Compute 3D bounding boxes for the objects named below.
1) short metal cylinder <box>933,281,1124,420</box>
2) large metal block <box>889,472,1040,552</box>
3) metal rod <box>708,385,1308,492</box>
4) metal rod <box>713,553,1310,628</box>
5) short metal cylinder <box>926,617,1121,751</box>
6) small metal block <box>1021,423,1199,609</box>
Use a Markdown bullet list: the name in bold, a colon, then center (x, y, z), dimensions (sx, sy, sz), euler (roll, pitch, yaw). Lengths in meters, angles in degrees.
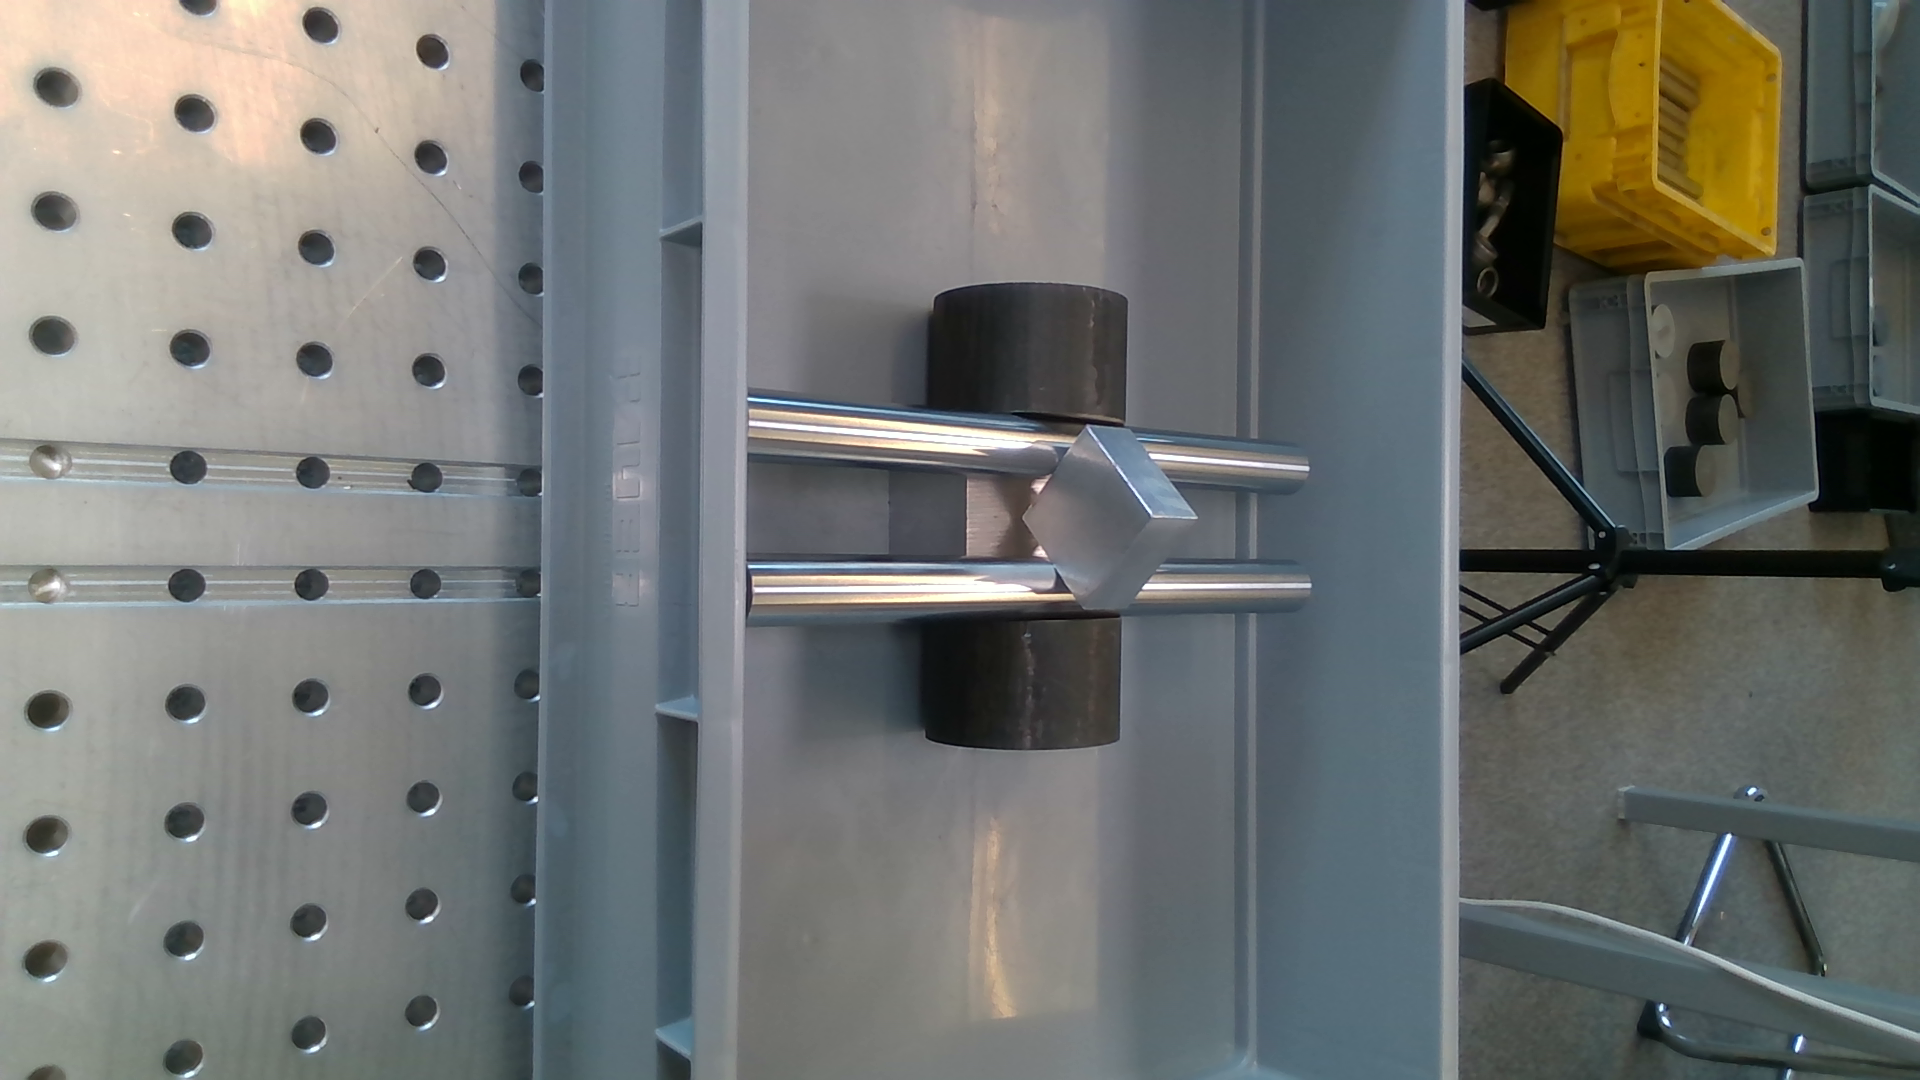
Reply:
- **short metal cylinder**: center (0.028, -0.074, 0.570), dimensions (0.080, 0.080, 0.050), euler (2, 89, -40)
- **large metal block**: center (0.017, -0.009, 0.580), dimensions (0.080, 0.050, 0.080), euler (1, 89, -40)
- **metal rod**: center (0.038, -0.036, 0.549), dimensions (0.300, 0.025, 0.025), euler (1, 89, -40)
- **metal rod**: center (0.040, 0.019, 0.551), dimensions (0.300, 0.025, 0.025), euler (1, 89, -40)
- **short metal cylinder**: center (0.026, 0.057, 0.568), dimensions (0.080, 0.080, 0.050), euler (1, 88, -40)
- **small metal block**: center (0.057, -0.009, 0.532), dimensions (0.025, 0.050, 0.050), euler (1, 45, -40)
